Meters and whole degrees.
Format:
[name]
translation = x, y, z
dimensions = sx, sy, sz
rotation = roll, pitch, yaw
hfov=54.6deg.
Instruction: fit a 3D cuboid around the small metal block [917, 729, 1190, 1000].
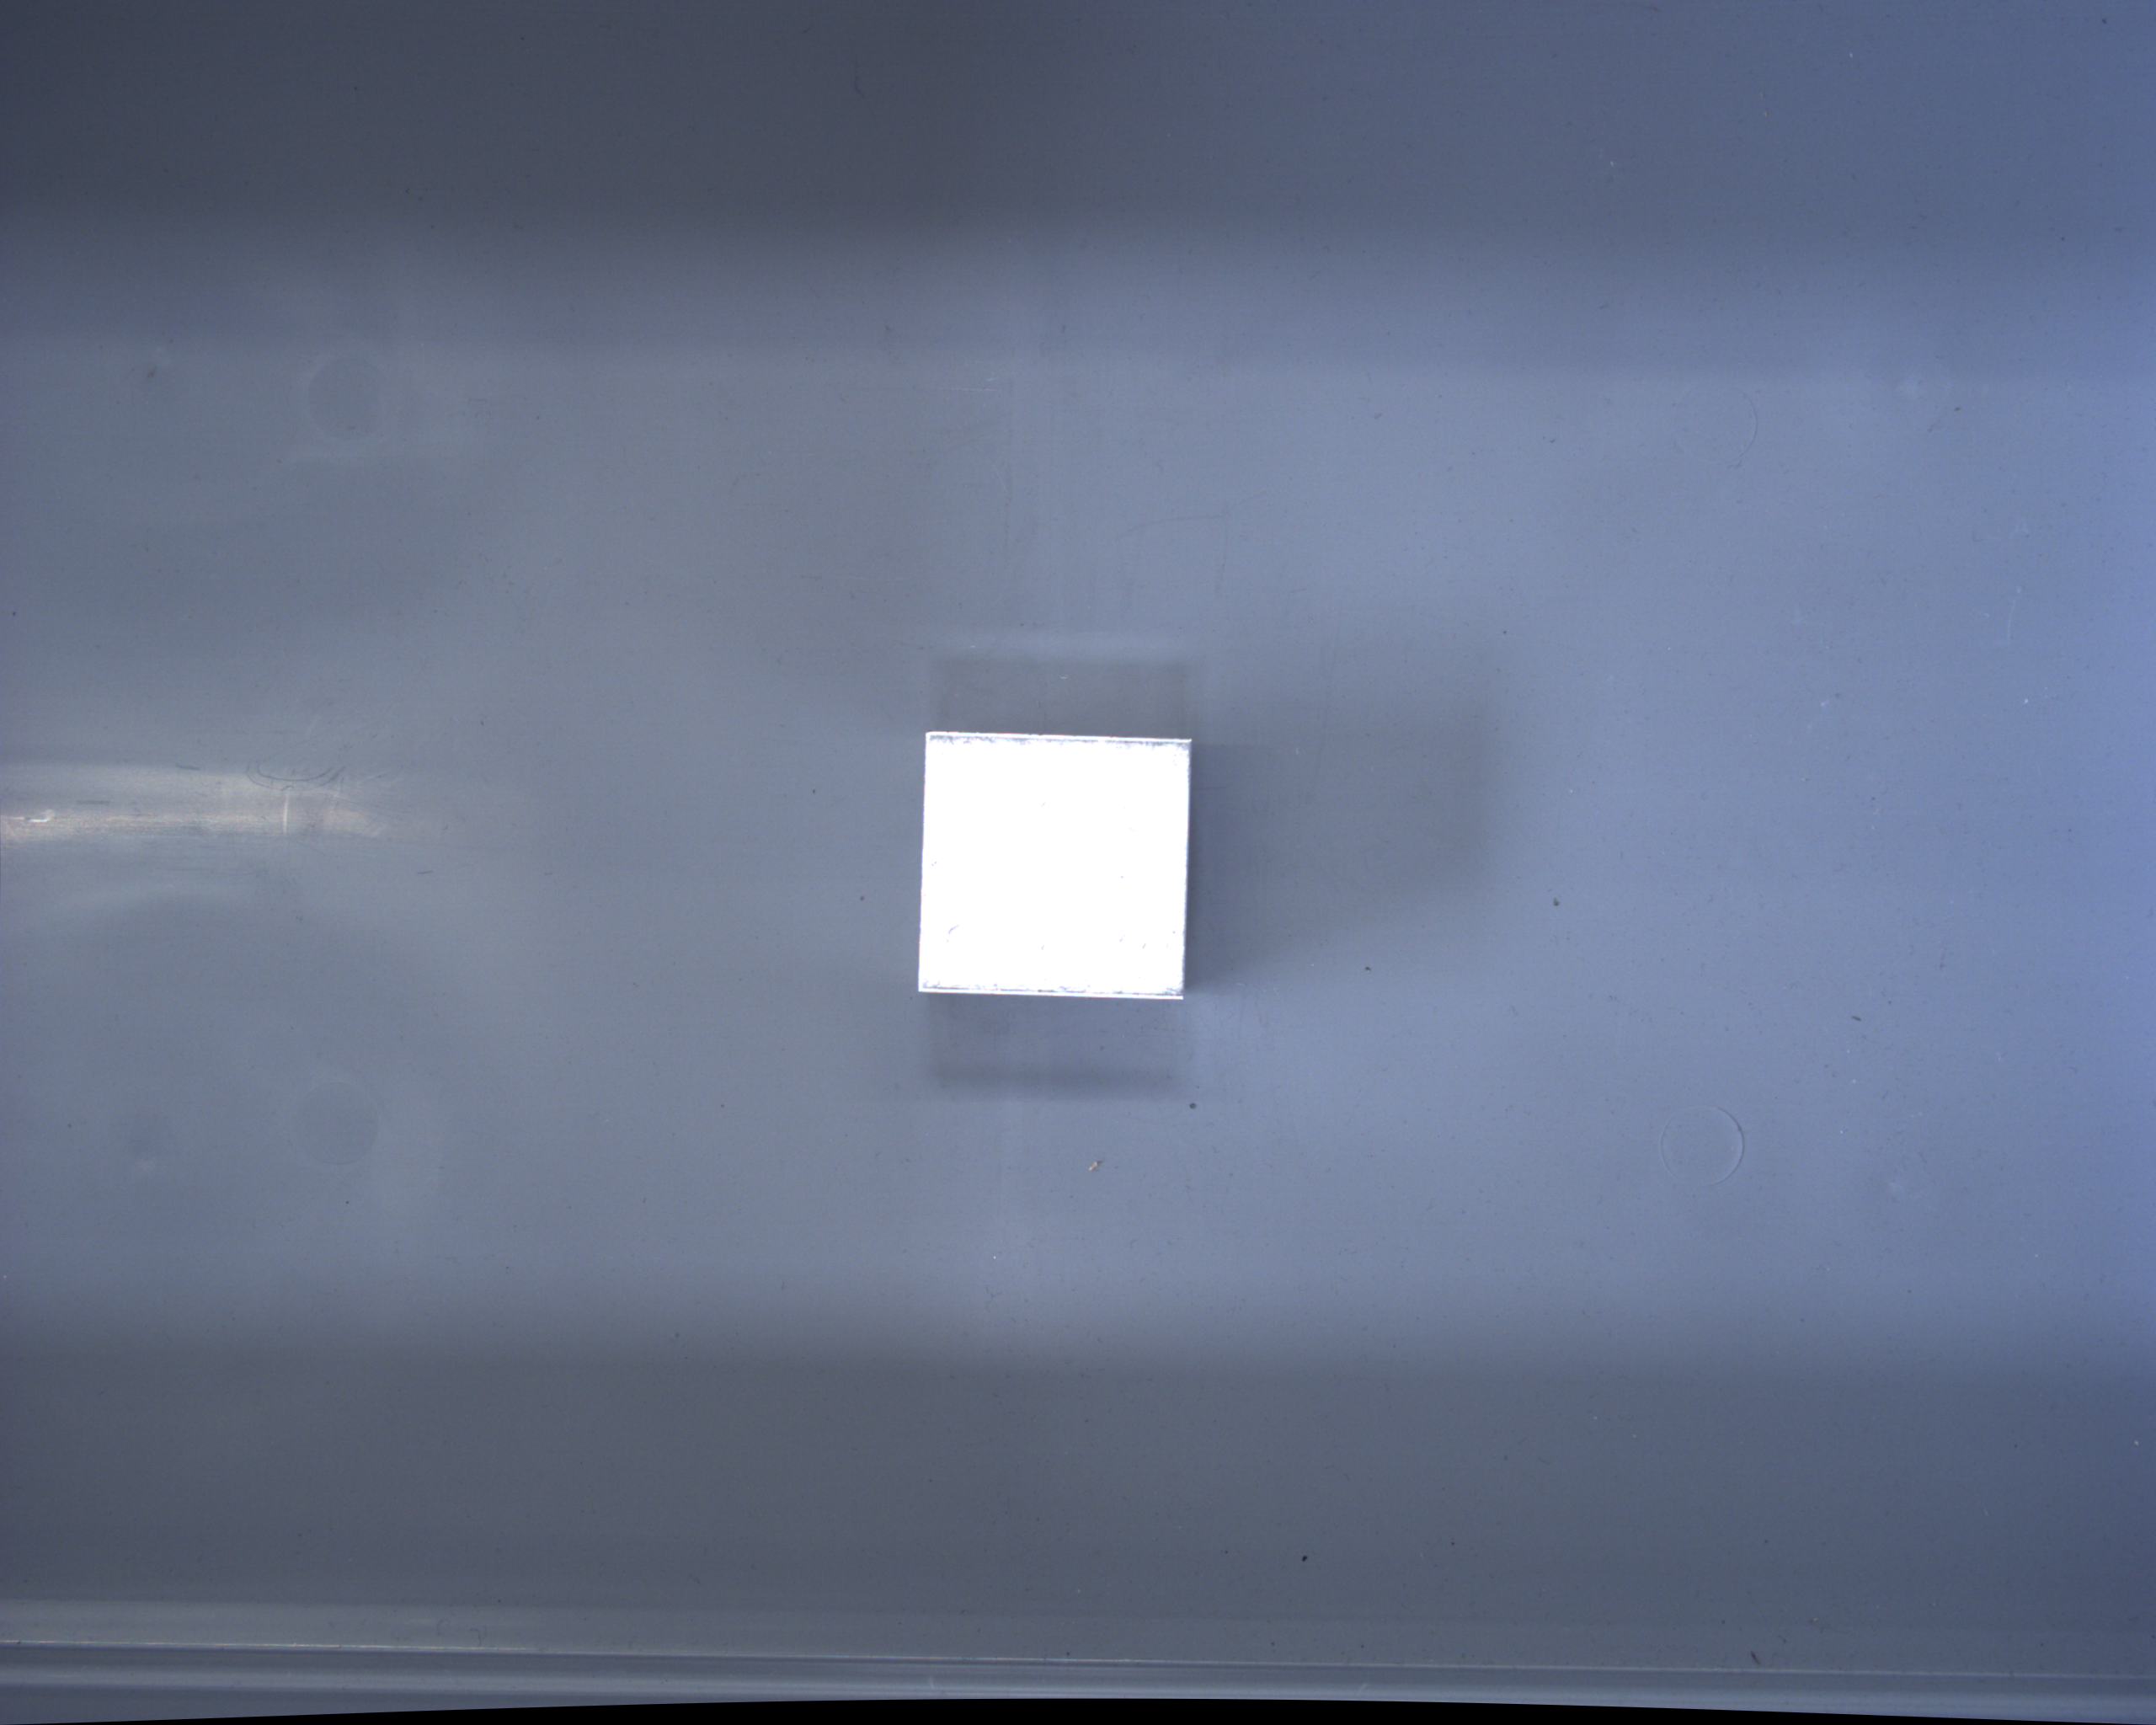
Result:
[small metal block]
translation = -0.005, 0.000, 0.408
dimensions = 0.050, 0.025, 0.050
rotation = 2, 90, 0
